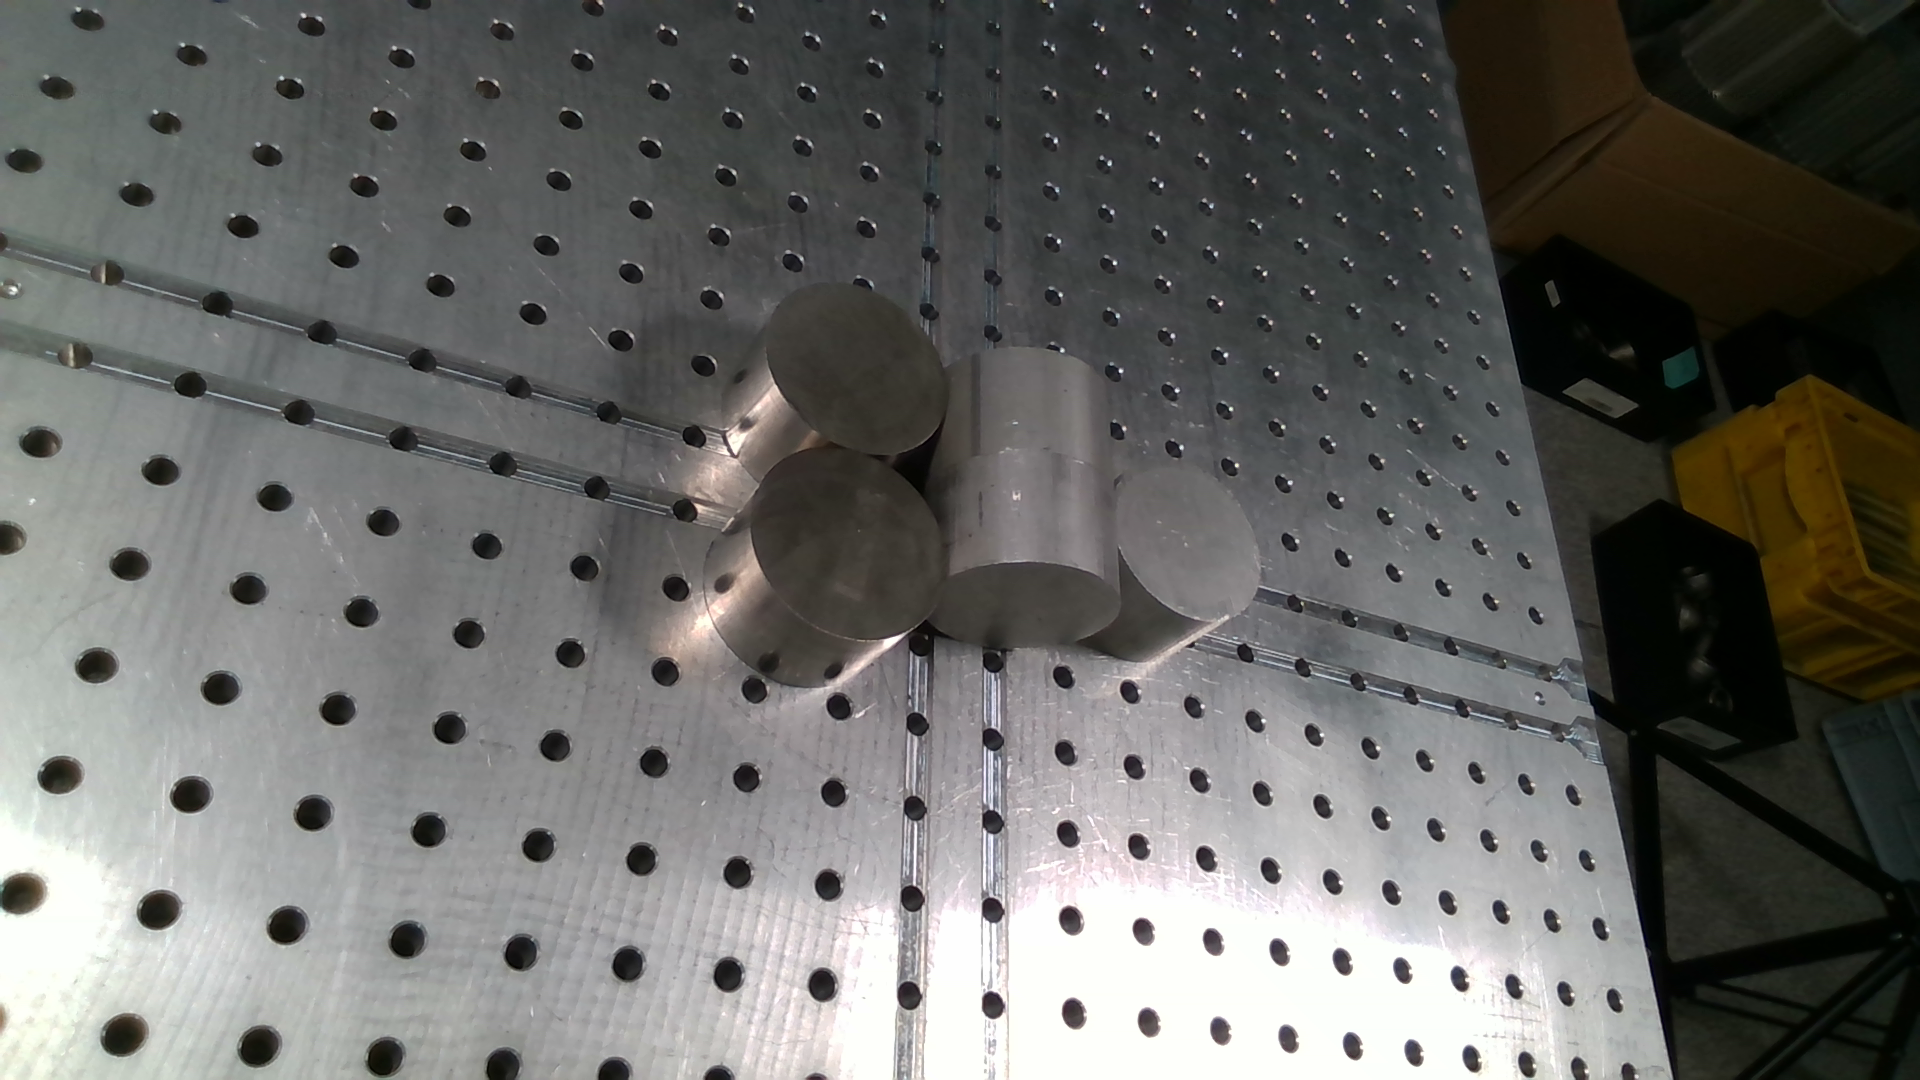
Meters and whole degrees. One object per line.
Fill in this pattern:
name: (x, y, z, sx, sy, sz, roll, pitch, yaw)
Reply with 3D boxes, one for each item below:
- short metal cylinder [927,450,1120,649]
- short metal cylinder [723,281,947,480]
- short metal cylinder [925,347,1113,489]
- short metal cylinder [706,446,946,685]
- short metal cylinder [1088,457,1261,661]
short metal cylinder: (0.024, 0.006, 0.566, 0.080, 0.080, 0.050, 15, 58, -25)
short metal cylinder: (-0.053, -0.060, 0.571, 0.080, 0.050, 0.080, 14, 59, -25)
short metal cylinder: (0.024, -0.038, 0.590, 0.080, 0.080, 0.050, 15, 58, -25)
short metal cylinder: (-0.052, 0.011, 0.533, 0.080, 0.050, 0.080, 14, 59, -25)
short metal cylinder: (0.088, 0.010, 0.622, 0.080, 0.050, 0.080, 14, 59, -25)
